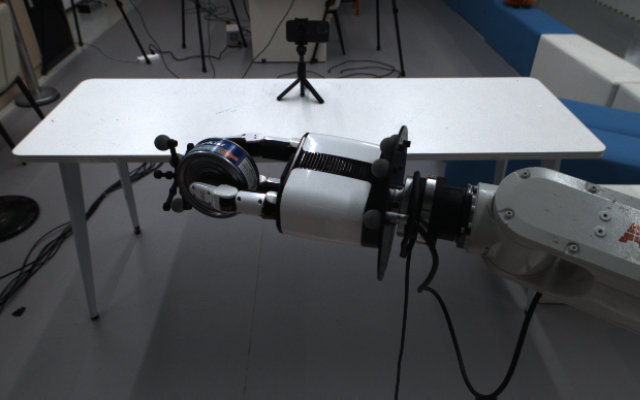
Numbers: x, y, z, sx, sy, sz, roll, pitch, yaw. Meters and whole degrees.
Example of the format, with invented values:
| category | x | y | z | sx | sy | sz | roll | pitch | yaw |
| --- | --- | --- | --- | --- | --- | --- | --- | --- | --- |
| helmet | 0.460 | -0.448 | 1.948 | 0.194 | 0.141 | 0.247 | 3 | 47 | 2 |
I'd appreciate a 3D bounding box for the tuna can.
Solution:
| category | x | y | z | sx | sy | sz | roll | pitch | yaw |
| --- | --- | --- | --- | --- | --- | --- | --- | --- | --- |
| tuna can | -0.110 | -0.025 | 0.531 | 0.085 | 0.085 | 0.034 | 9 | 33 | 10 |
